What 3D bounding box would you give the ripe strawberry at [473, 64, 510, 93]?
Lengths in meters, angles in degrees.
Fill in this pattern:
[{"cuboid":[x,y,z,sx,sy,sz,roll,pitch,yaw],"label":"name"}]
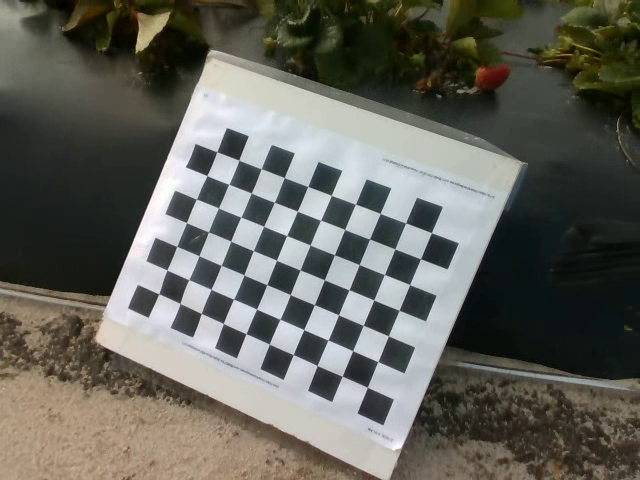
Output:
[{"cuboid":[0.107,-0.110,0.410,0.027,0.022,0.021,-6,3,22],"label":"ripe strawberry"}]
